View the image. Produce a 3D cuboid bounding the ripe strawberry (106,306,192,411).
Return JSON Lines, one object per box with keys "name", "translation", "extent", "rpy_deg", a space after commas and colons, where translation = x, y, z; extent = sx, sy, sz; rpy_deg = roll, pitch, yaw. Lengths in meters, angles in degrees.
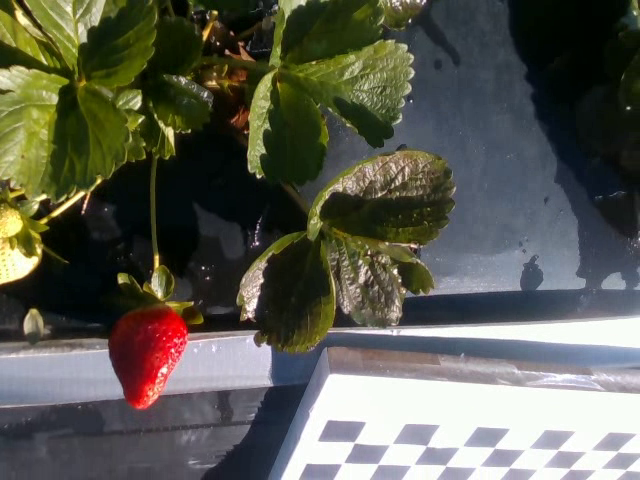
{"name": "ripe strawberry", "translation": [-0.069, 0.048, 0.251], "extent": [0.036, 0.046, 0.038], "rpy_deg": [8, -34, -11]}
